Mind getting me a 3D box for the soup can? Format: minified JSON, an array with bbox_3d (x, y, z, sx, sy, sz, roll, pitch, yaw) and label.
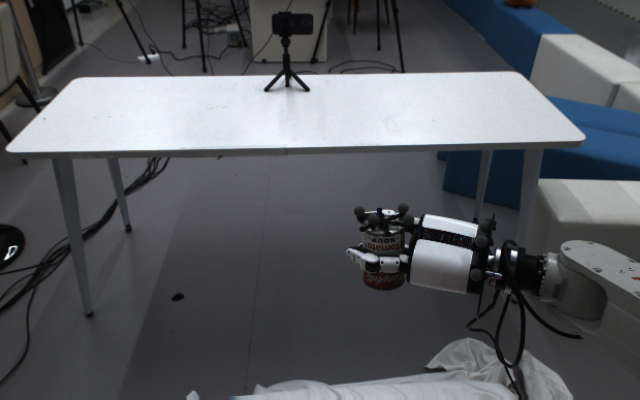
[{"bbox_3d":[0.102,0.082,0.766,0.067,0.101,0.067,-3,25,2],"label":"soup can"}]
